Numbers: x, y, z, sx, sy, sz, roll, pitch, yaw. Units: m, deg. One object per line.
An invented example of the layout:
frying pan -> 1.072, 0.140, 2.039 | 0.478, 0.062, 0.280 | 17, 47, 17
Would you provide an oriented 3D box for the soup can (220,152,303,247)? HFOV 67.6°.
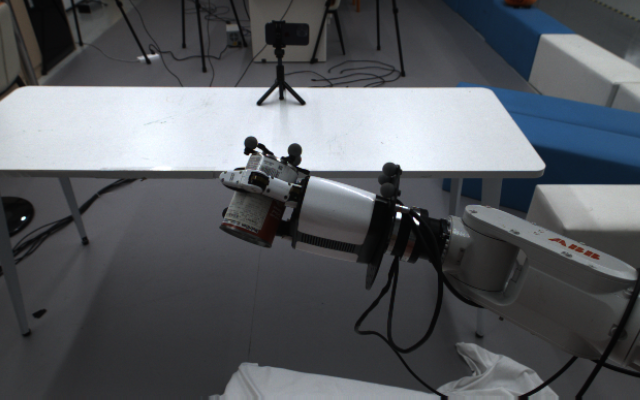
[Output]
soup can -> -0.073, 0.001, 0.604 | 0.067, 0.067, 0.101 | 16, 75, 19
